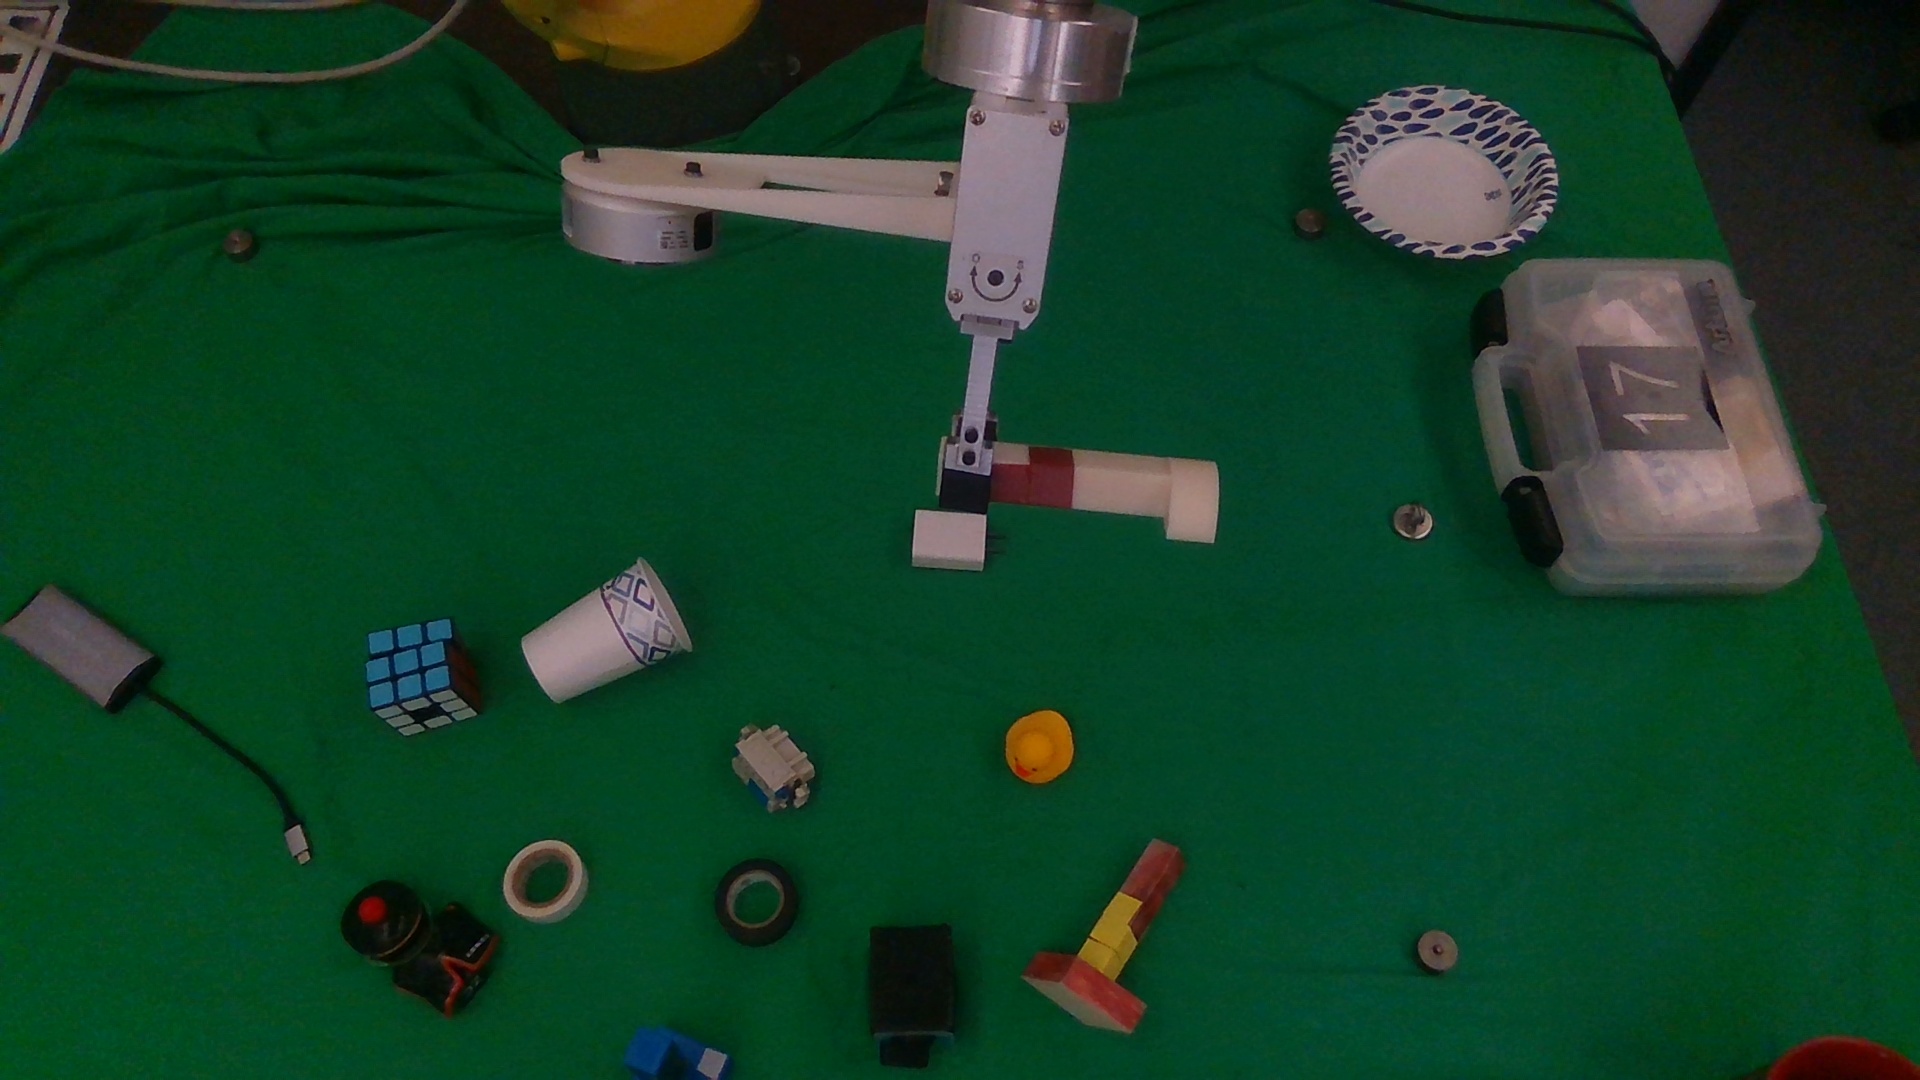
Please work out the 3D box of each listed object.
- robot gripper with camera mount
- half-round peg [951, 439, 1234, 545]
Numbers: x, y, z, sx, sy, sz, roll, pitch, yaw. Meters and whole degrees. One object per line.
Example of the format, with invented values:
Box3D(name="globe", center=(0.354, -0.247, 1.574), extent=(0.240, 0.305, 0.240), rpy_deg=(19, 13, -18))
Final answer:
Box3D(name="robot gripper with camera mount", center=(-0.072, -0.103, 0.566), extent=(0.193, 0.158, 0.119), rpy_deg=(5, 27, -1))
Box3D(name="half-round peg", center=(0.056, -0.026, 0.600), extent=(0.122, 0.031, 0.054), rpy_deg=(6, 26, 2))
